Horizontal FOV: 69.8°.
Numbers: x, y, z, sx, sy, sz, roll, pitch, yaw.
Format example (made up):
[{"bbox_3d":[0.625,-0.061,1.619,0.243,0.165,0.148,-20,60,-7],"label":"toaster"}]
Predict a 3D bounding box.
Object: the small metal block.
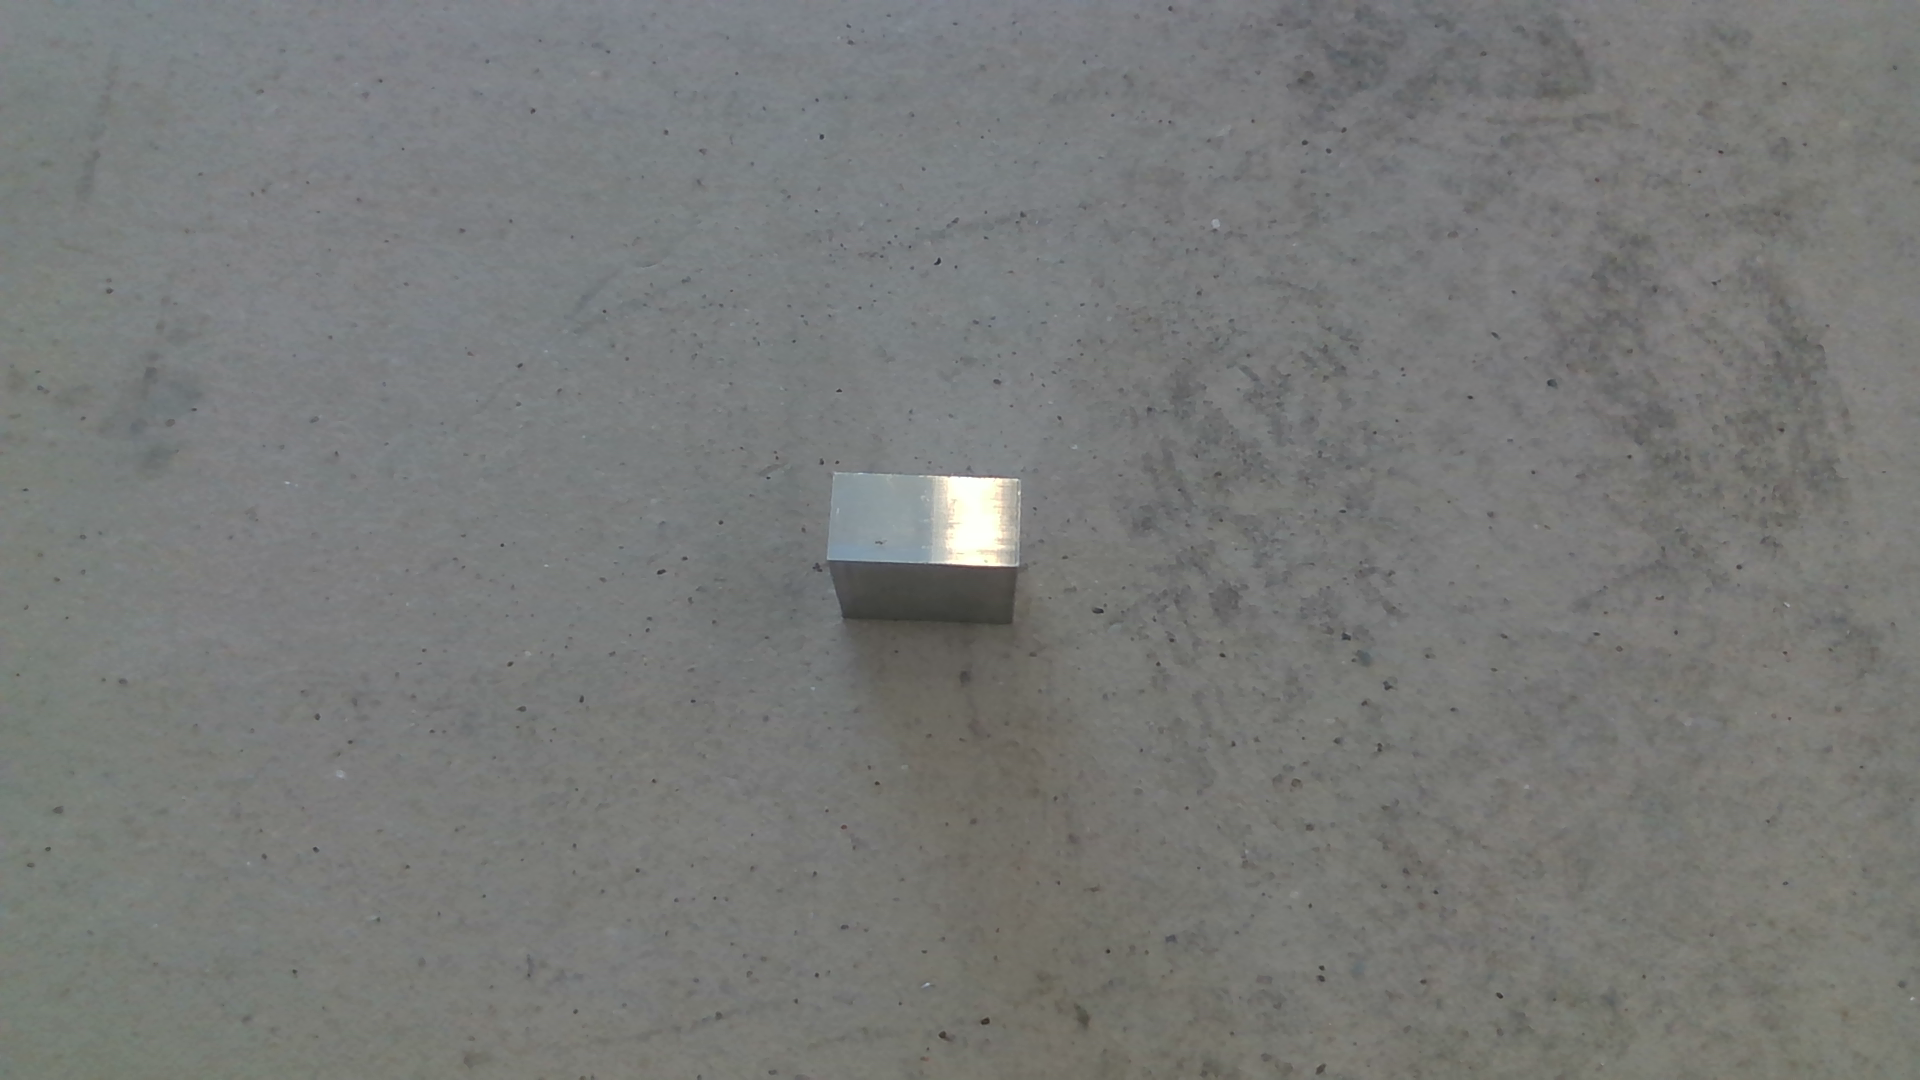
[{"bbox_3d":[-0.009,0.003,0.381,0.050,0.050,0.025,2,71,1],"label":"small metal block"}]
